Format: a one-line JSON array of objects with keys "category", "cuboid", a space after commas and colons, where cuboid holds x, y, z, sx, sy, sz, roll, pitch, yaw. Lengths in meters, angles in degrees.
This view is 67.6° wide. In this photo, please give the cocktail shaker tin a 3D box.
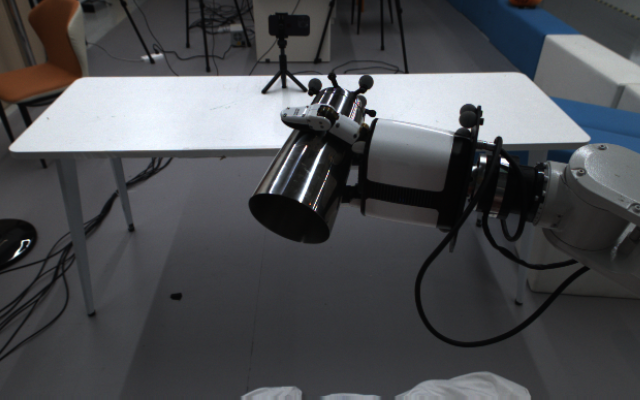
[{"category": "cocktail shaker tin", "cuboid": [-0.004, -0.046, 0.548, 0.093, 0.093, 0.170, 13, 58, 16]}]
